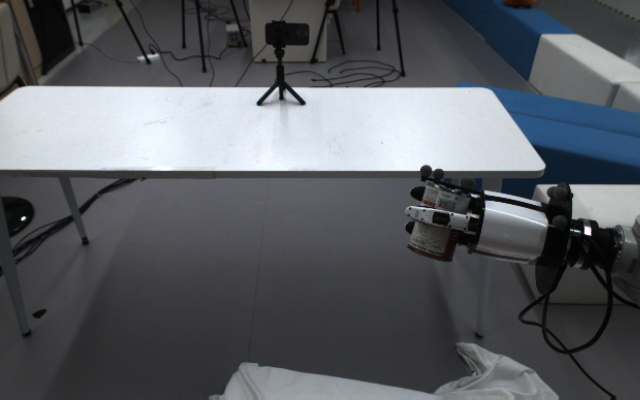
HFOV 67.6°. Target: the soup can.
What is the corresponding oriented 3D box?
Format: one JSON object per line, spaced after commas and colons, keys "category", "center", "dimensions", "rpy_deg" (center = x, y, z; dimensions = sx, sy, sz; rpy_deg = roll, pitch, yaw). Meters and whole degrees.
{"category": "soup can", "center": [0.176, 0.032, 0.711], "dimensions": [0.067, 0.101, 0.067], "rpy_deg": [15, 7, -2]}
